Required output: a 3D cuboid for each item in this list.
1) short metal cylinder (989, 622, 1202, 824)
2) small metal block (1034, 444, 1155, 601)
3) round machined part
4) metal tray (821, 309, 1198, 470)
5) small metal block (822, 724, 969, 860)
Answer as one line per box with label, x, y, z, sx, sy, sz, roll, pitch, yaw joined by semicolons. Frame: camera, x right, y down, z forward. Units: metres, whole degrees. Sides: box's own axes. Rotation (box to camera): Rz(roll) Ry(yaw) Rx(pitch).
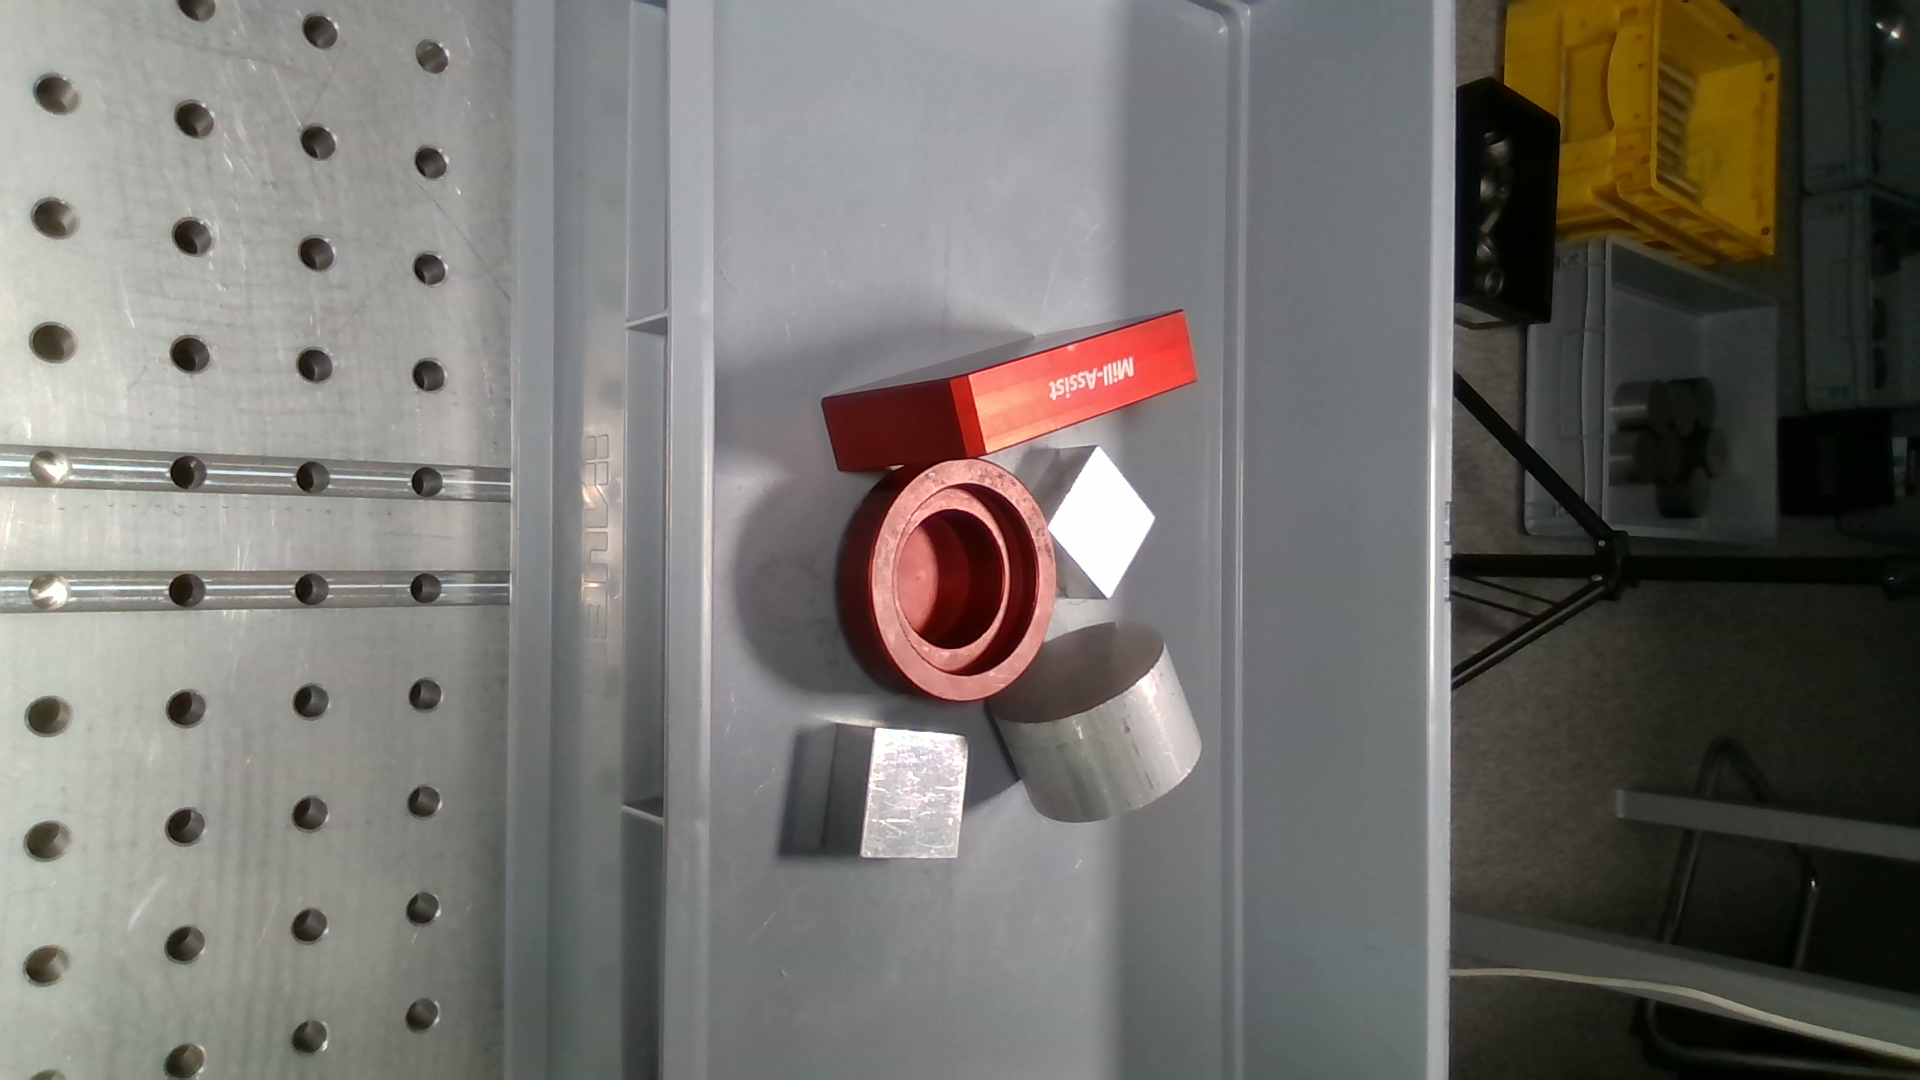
short metal cylinder;0.058;0.078;0.595;0.080;0.080;0.050;-36;112;-34
small metal block;0.056;-0.007;0.629;0.050;0.025;0.050;48;60;-29
round machined part;-0.009;0.016;0.561;0.098;0.042;0.098;0;90;-40
metal tray;0.021;-0.061;0.557;0.130;0.090;0.030;-22;103;-38
small metal block;-0.026;0.103;0.560;0.050;0.025;0.050;12;81;-40
